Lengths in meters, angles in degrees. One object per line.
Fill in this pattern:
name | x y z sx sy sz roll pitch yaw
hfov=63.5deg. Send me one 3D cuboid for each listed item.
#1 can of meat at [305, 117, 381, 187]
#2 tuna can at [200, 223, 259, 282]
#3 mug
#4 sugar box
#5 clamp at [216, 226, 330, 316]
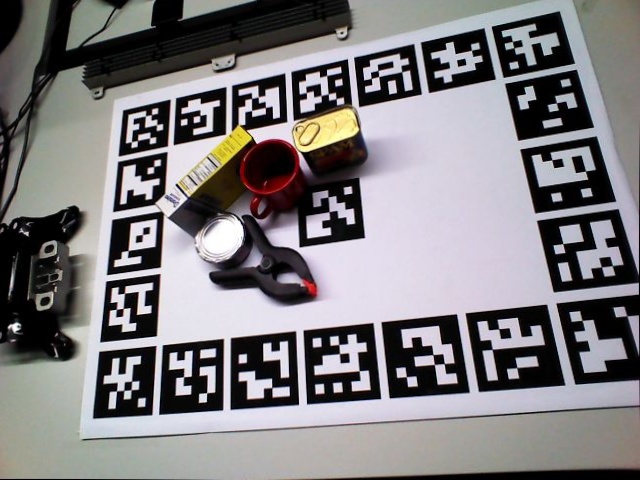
can of meat | 0.038 -0.130 0.780 0.102 0.084 0.057 -16 66 8
tuna can | -0.139 0.020 0.796 0.086 0.034 0.085 -5 72 14
mug | -0.057 -0.070 0.777 0.094 0.081 0.116 16 78 19
sugar box | -0.147 -0.069 0.805 0.176 0.093 0.045 -43 64 -4
clamp | -0.058 0.061 0.765 0.165 0.036 0.121 27 76 18
